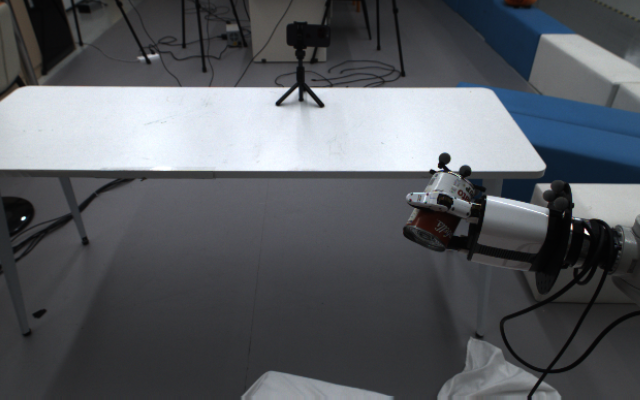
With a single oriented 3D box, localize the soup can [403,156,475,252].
[{"bbox_3d":[0.176,0.014,0.708,0.067,0.067,0.101,24,72,28],"label":"soup can"}]
